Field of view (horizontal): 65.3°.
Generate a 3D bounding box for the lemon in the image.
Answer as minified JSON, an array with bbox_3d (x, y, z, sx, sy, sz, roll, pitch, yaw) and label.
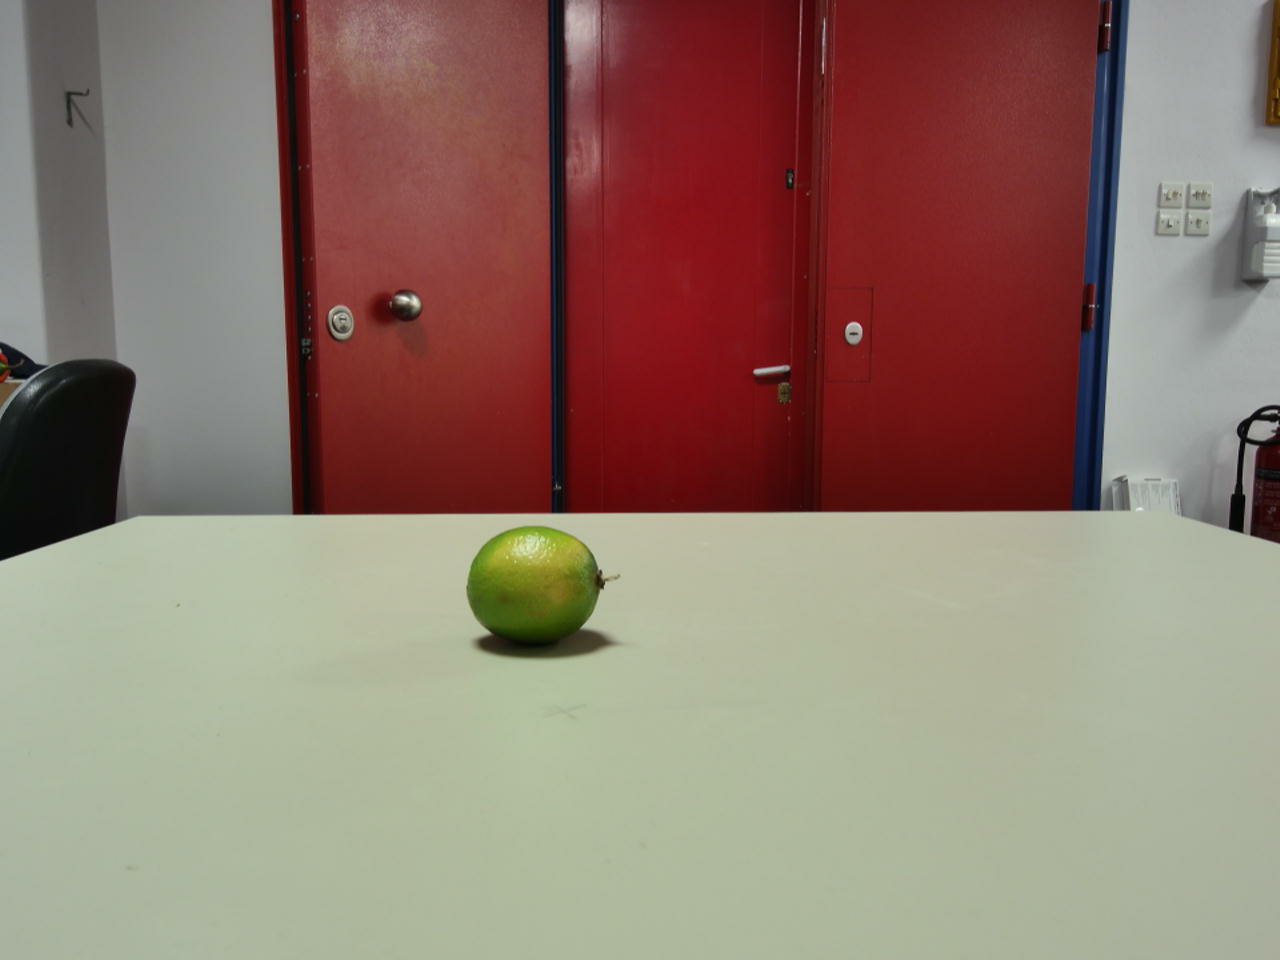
[{"bbox_3d":[-0.046,0.045,0.436,0.054,0.050,0.055,-5,6,-41],"label":"lemon"}]
